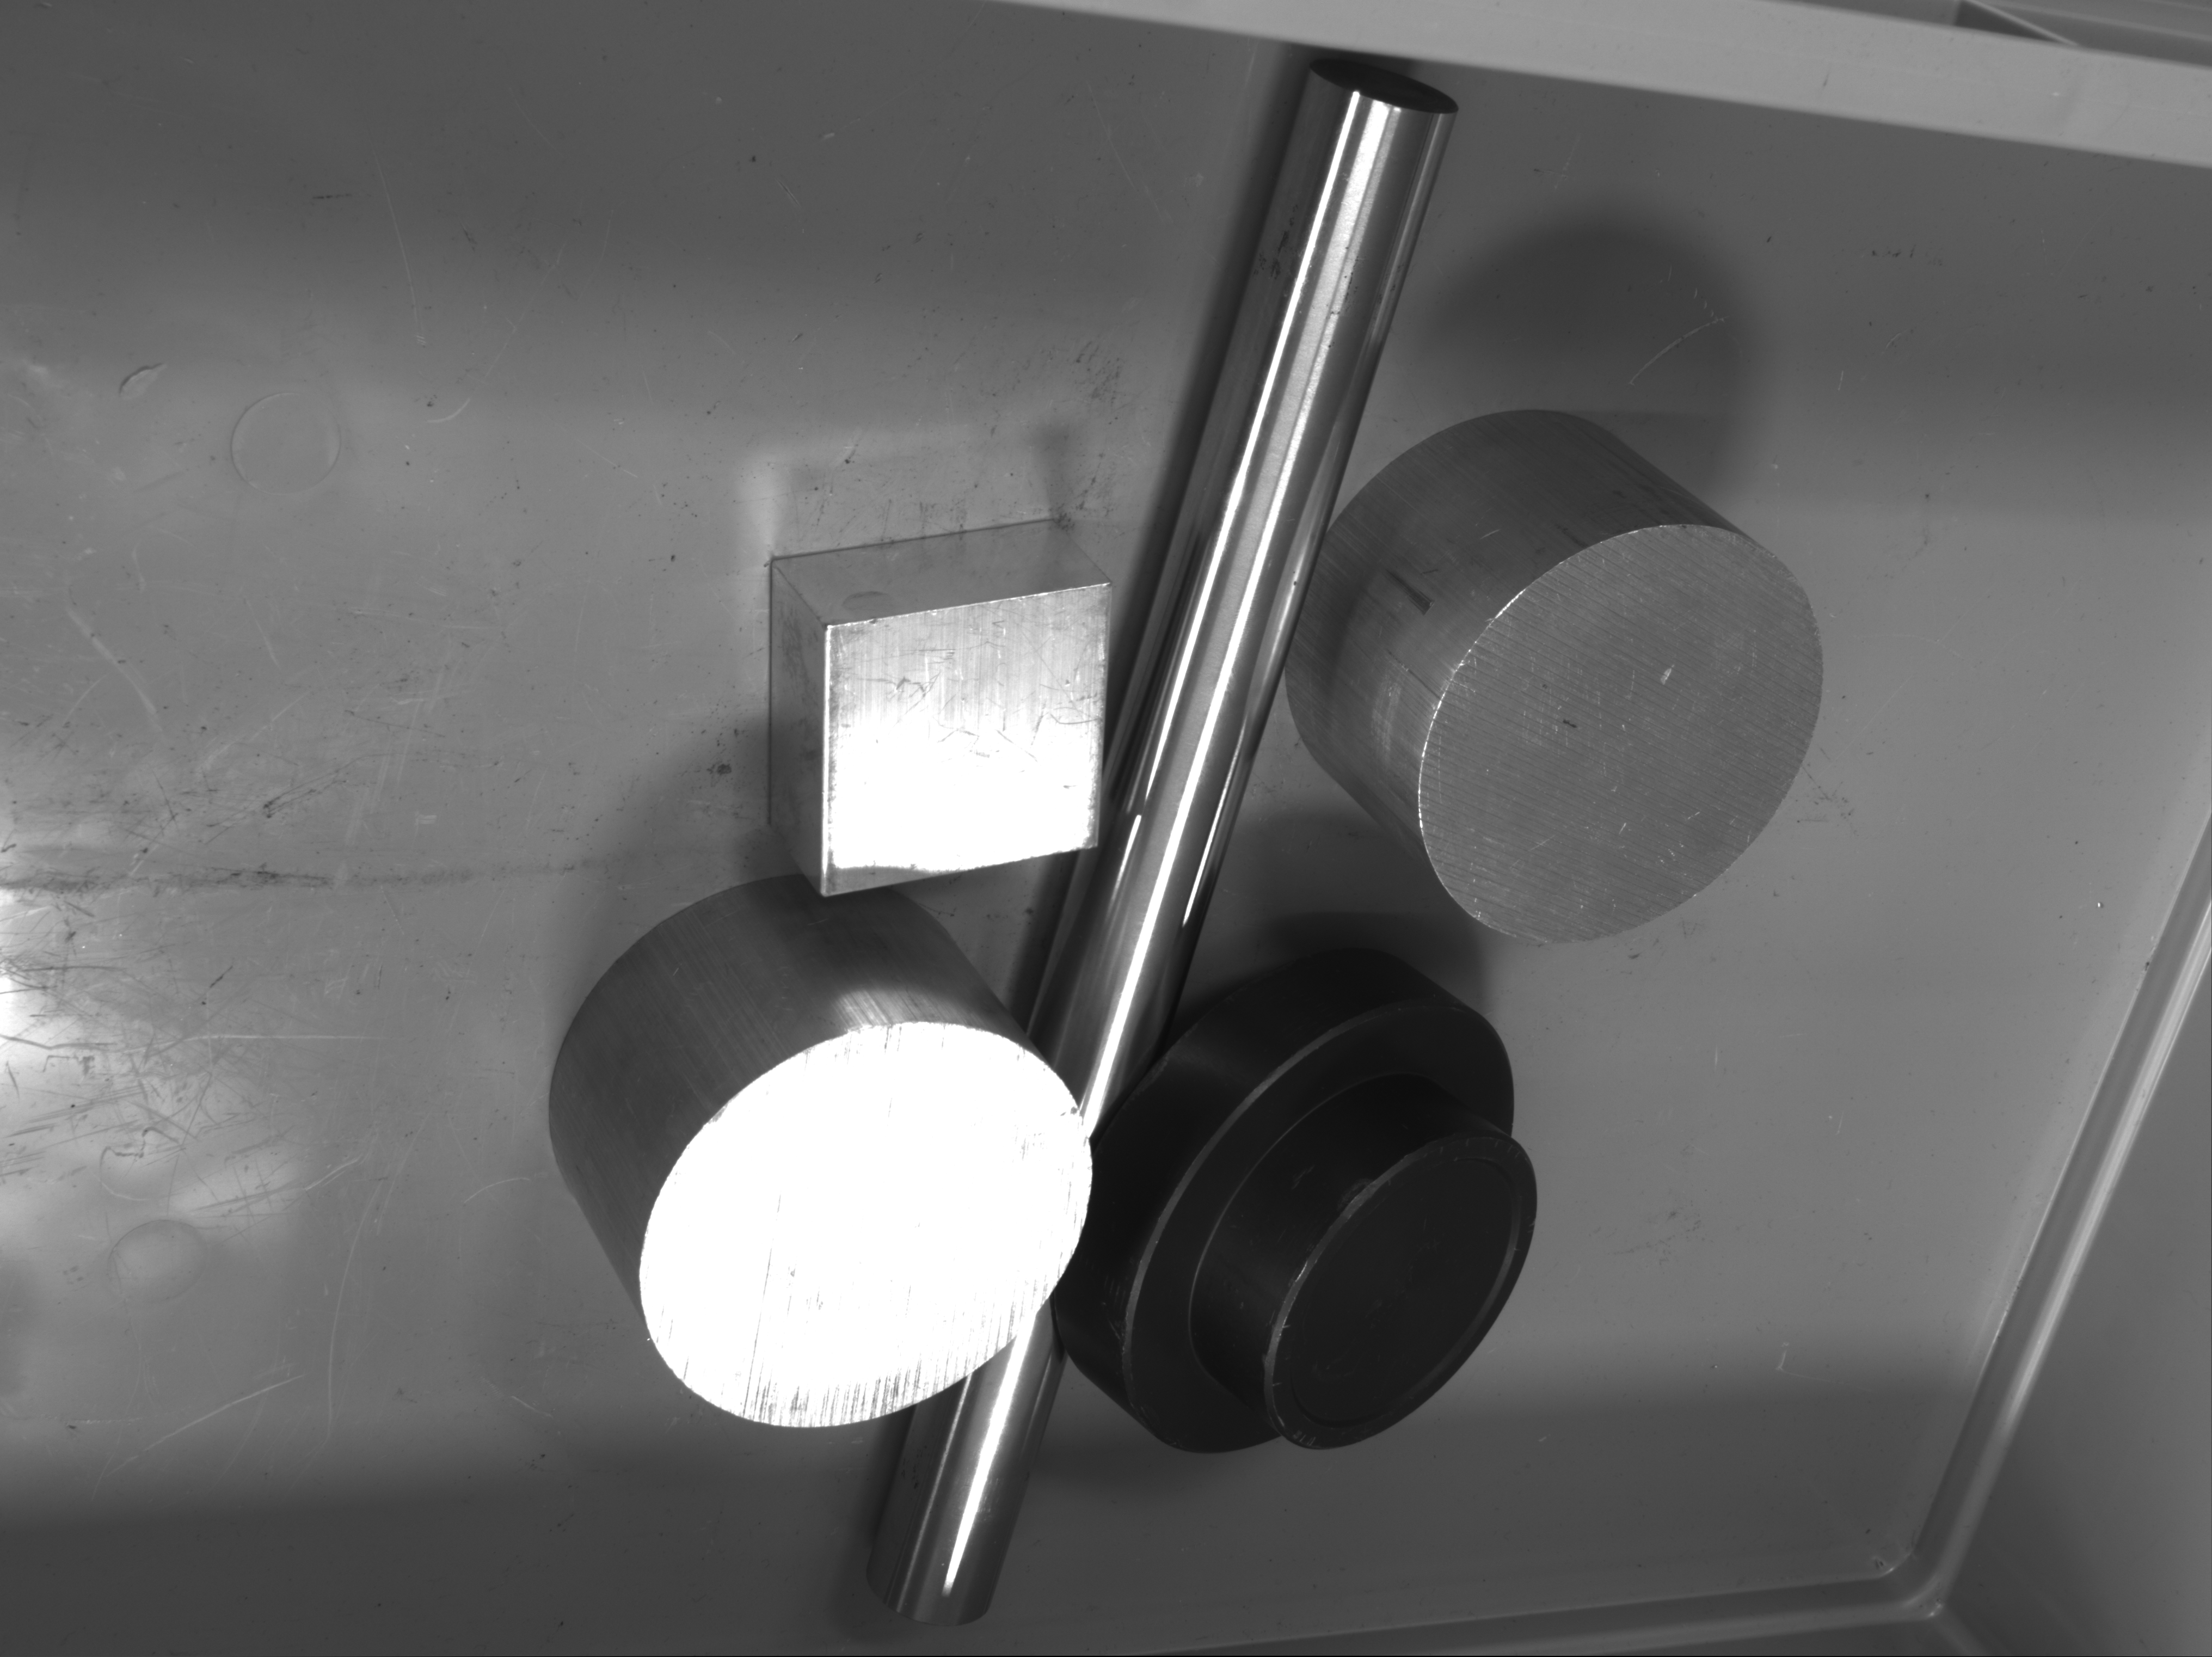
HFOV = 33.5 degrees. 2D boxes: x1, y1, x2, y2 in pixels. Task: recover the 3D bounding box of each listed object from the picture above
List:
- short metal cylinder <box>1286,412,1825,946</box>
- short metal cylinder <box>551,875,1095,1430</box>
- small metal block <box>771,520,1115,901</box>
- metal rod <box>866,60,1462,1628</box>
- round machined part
[{"bbox_3d":[0.078,-0.026,0.645,0.080,0.050,0.080,-13,124,-21],"label":"short metal cylinder"},{"bbox_3d":[-0.049,0.055,0.627,0.080,0.050,0.080,-13,124,-21],"label":"short metal cylinder"},{"bbox_3d":[-0.028,-0.020,0.609,0.050,0.025,0.050,-11,123,-22],"label":"small metal block"},{"bbox_3d":[0.006,0.013,0.647,0.025,0.025,0.300,3,117,-29],"label":"metal rod"},{"bbox_3d":[0.041,0.075,0.677,0.098,0.042,0.098,-26,133,-32],"label":"round machined part"}]
